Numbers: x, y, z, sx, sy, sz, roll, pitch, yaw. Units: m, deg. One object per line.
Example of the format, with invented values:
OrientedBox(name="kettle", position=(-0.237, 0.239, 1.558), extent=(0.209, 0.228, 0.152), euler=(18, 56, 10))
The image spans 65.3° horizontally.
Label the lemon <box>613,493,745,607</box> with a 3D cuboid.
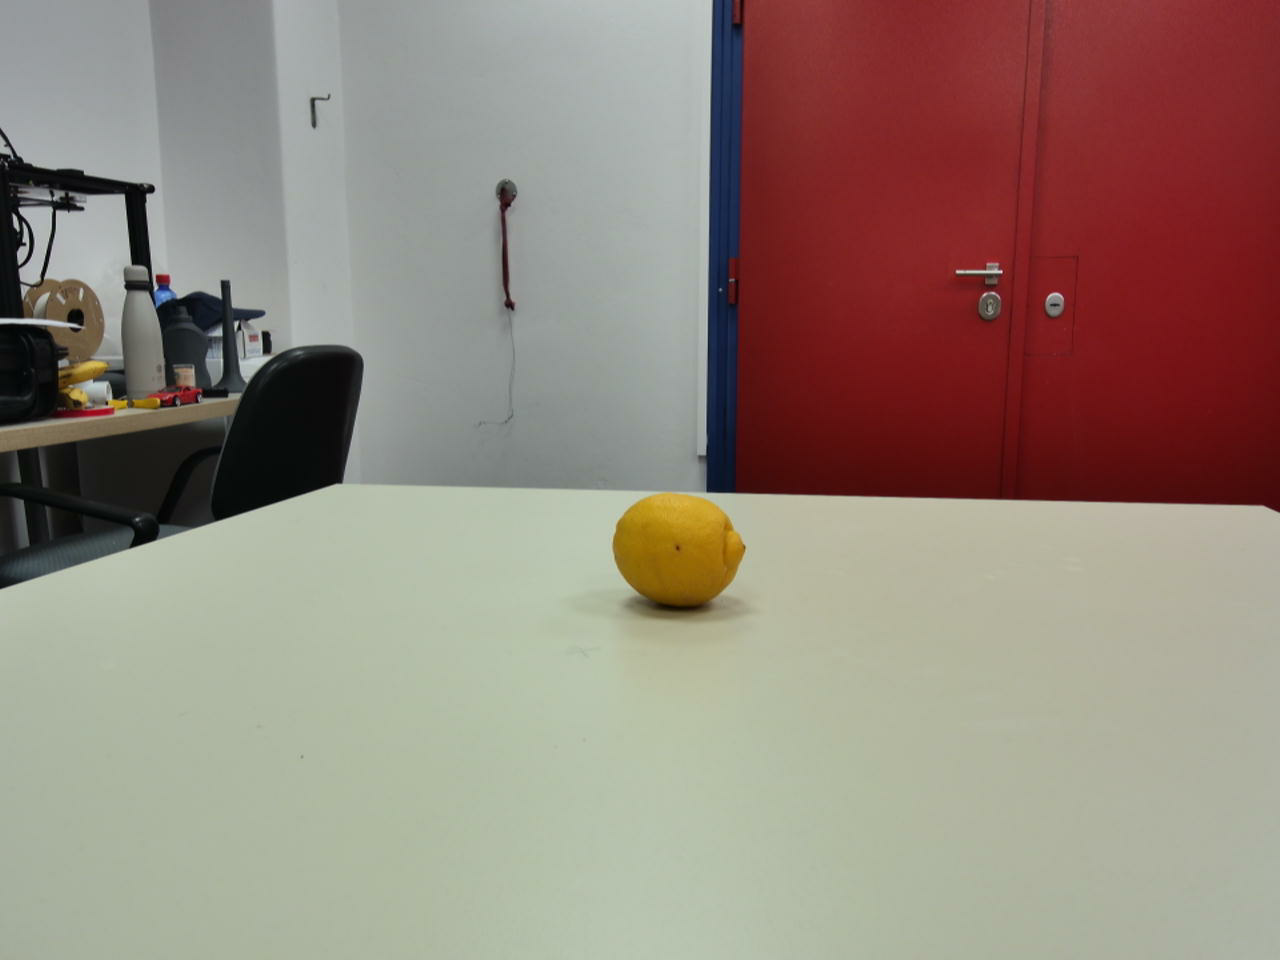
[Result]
OrientedBox(name="lemon", position=(0.019, 0.037, 0.532), extent=(0.060, 0.059, 0.067), euler=(-3, 8, -36))
